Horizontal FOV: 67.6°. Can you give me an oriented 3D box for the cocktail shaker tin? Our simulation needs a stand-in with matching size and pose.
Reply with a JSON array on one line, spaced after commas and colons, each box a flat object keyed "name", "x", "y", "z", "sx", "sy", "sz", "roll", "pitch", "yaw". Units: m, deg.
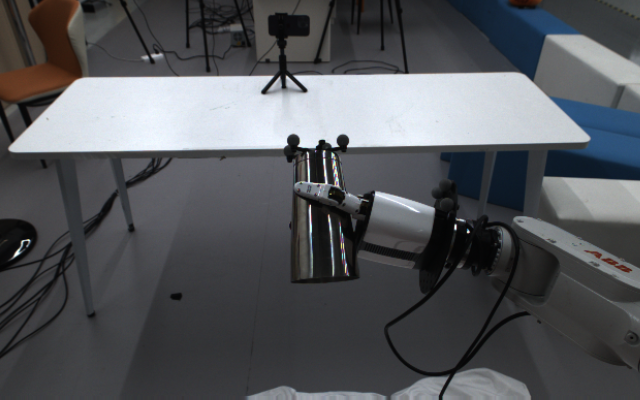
[{"name": "cocktail shaker tin", "x": 0.002, "y": 0.024, "z": 0.657, "sx": 0.093, "sy": 0.093, "sz": 0.170, "roll": -3, "pitch": 76, "yaw": -8}]
